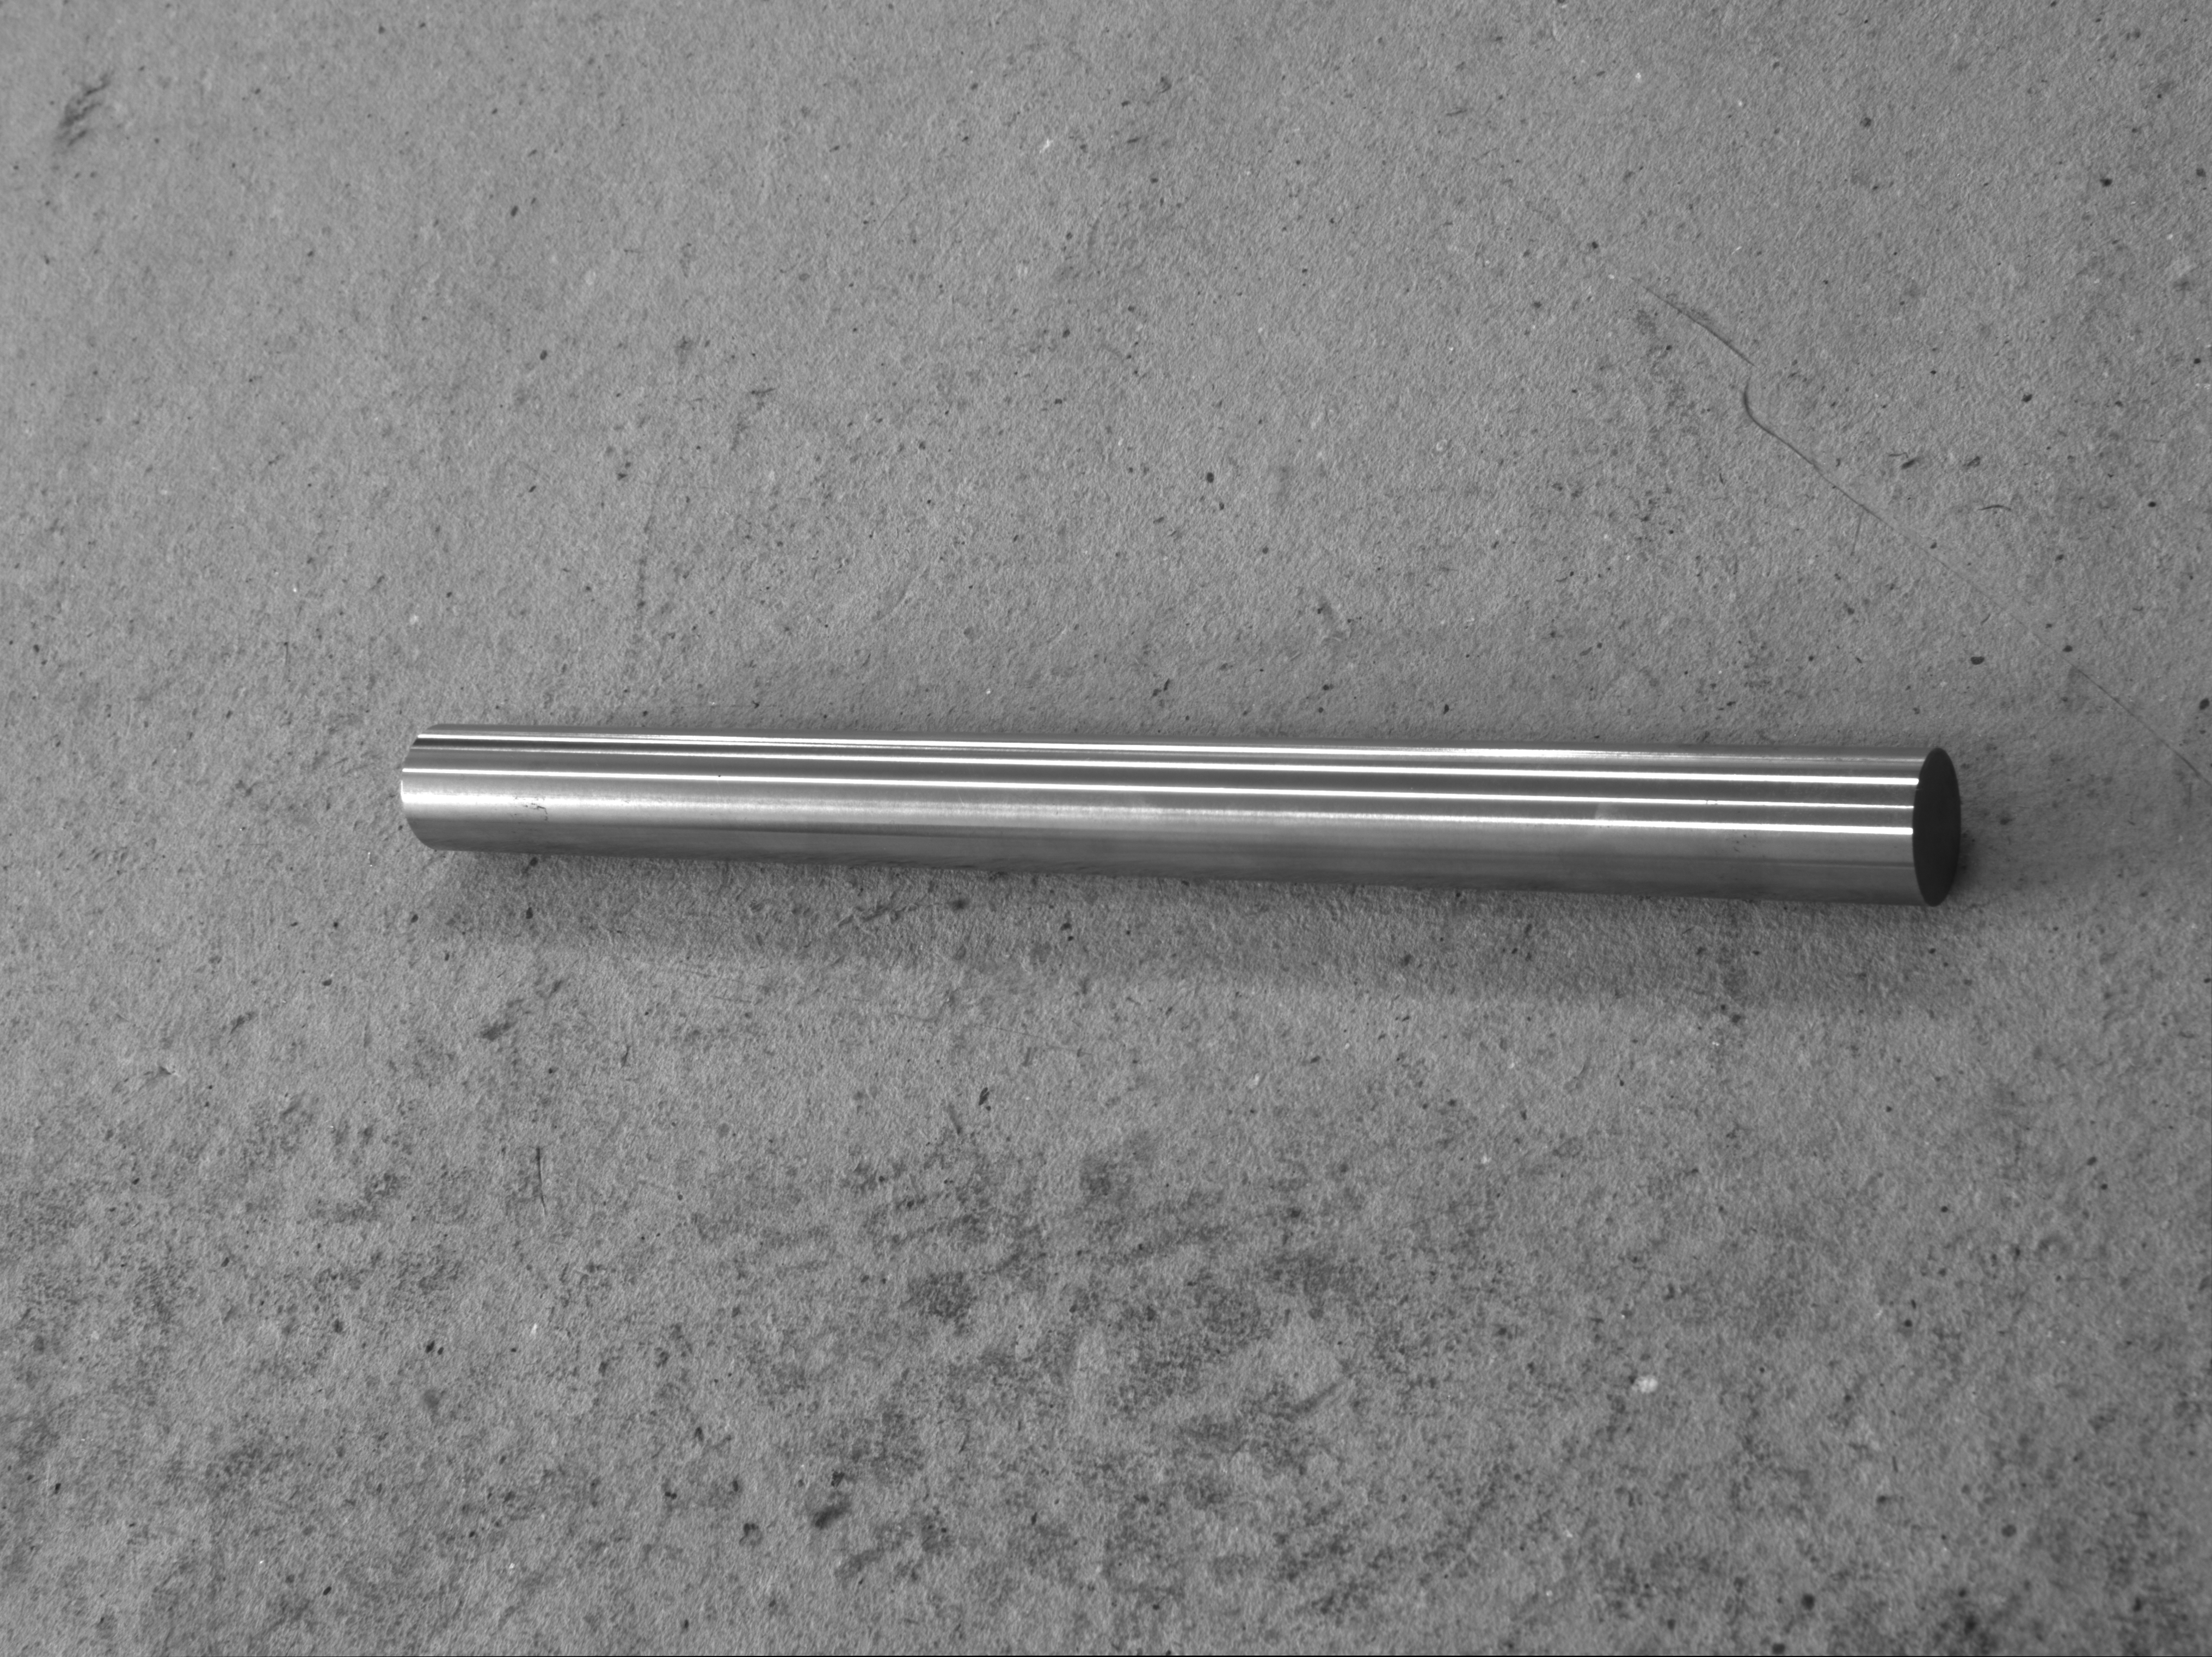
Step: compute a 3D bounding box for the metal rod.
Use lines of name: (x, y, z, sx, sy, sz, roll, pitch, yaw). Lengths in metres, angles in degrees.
metal rod: (-0.001, -0.004, 0.649, 0.299, 0.025, 0.025, 2, 62, 29)
